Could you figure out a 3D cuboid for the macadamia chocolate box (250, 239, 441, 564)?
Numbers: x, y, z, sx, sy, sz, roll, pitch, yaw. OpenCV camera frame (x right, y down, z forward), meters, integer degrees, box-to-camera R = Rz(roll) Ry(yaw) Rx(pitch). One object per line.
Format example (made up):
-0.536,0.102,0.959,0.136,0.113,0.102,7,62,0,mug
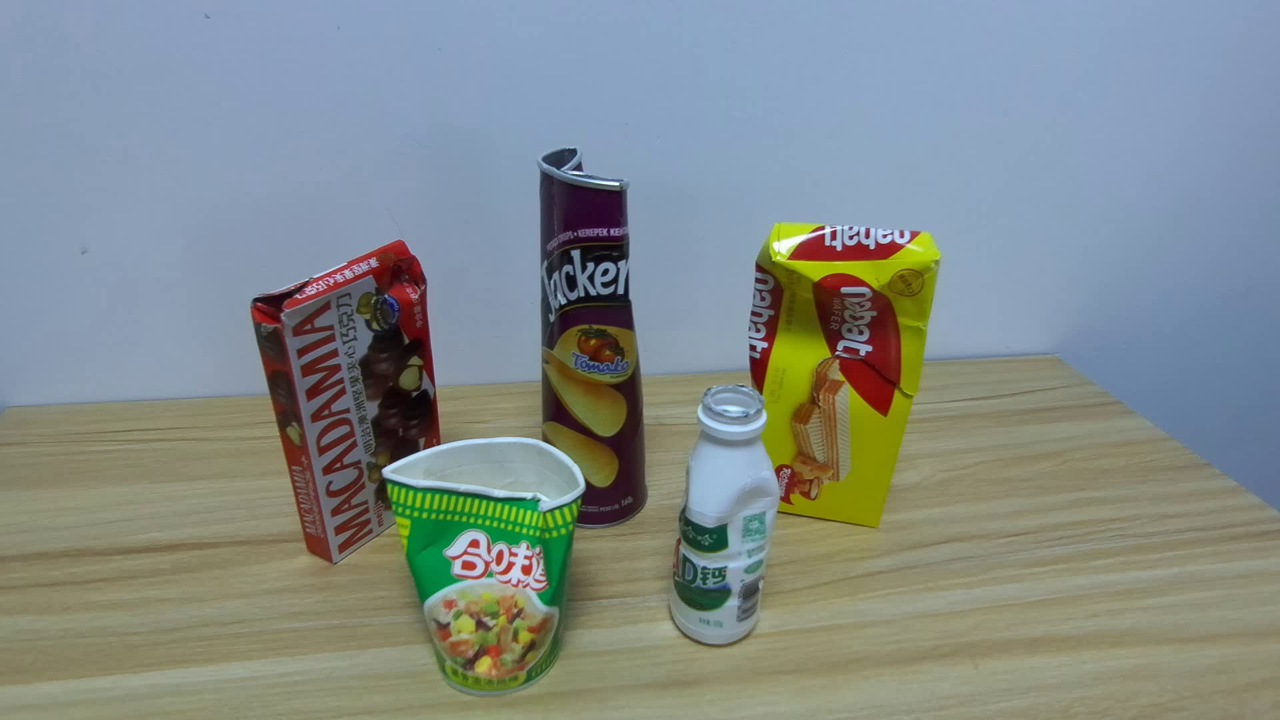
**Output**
-0.169,0.027,0.435,0.027,0.187,0.103,21,34,26,macadamia chocolate box

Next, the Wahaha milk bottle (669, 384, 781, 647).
0.043,0.084,0.377,0.055,0.149,0.055,0,29,0,Wahaha milk bottle

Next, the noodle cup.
-0.075,0.108,0.369,0.082,0.122,0.075,14,21,39,noodle cup

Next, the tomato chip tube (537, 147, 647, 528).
-0.029,-0.007,0.455,0.076,0.235,0.078,12,28,20,tomato chip tube

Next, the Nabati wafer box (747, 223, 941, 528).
0.121,0.012,0.456,0.106,0.204,0.042,7,30,11,Nabati wafer box
